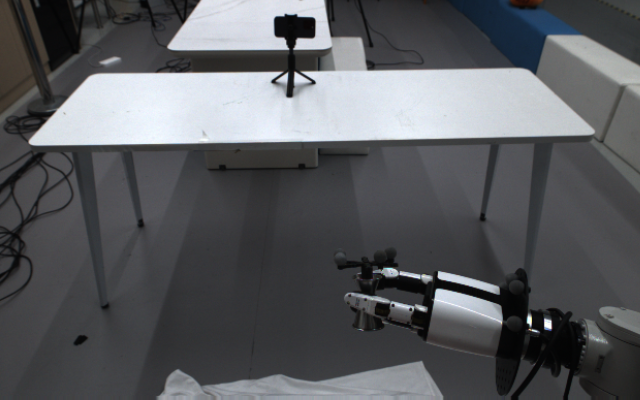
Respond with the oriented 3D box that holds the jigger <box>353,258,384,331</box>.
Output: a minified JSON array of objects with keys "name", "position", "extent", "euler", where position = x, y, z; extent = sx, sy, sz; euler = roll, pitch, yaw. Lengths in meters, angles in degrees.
[{"name":"jigger","position":[0.063,0.135,0.648],"extent":[0.043,0.071,0.043],"euler":[-2,3,0]}]
